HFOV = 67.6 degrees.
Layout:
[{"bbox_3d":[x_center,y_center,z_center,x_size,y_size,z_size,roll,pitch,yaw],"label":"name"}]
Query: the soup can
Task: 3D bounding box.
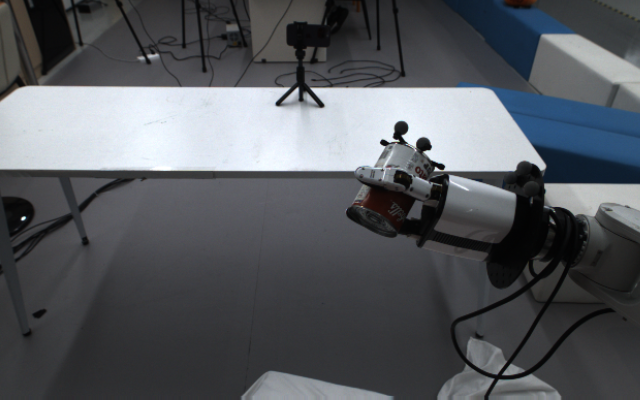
[{"bbox_3d":[0.091,-0.014,0.603,0.067,0.067,0.101,22,71,27],"label":"soup can"}]
